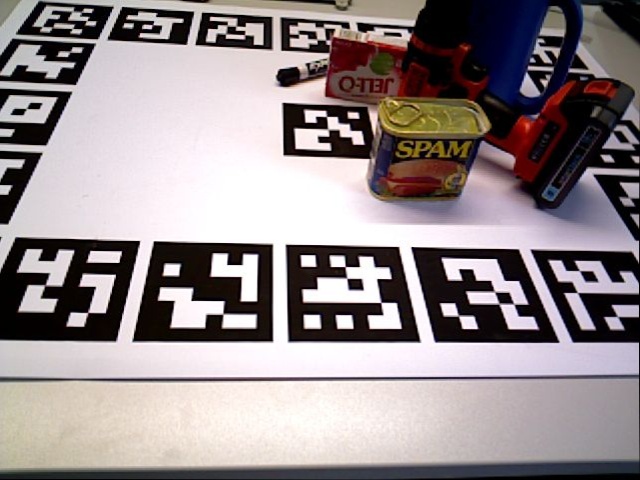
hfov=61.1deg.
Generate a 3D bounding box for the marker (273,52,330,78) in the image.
[{"bbox_3d":[-0.003,-0.222,0.675,0.119,0.020,0.019,-20,54,-22],"label":"marker"}]

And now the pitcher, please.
[{"bbox_3d":[0.208,-0.248,0.585,0.189,0.248,0.130,22,51,21],"label":"pitcher"}]

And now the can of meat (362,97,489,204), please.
[{"bbox_3d":[0.094,-0.083,0.515,0.101,0.086,0.057,2,46,-7],"label":"can of meat"}]

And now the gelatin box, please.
[{"bbox_3d":[0.056,-0.197,0.627,0.089,0.075,0.029,11,51,0],"label":"gelatin box"}]

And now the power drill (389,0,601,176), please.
[{"bbox_3d":[0.163,-0.159,0.529,0.187,0.189,0.056,32,53,13],"label":"power drill"}]
